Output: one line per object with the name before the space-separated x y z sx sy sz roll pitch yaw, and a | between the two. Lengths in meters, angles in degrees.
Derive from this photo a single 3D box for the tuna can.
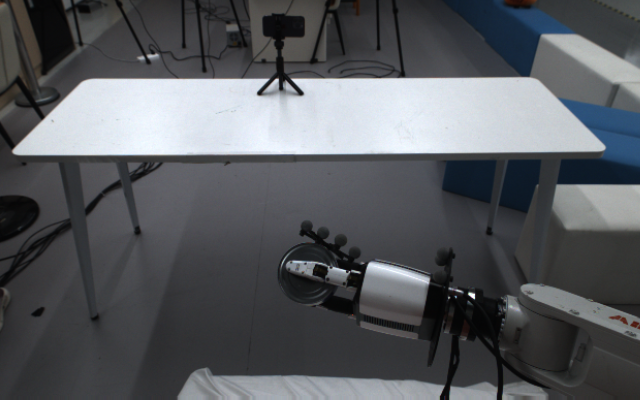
tuna can | -0.013 0.104 0.678 0.085 0.034 0.085 -2 71 6
